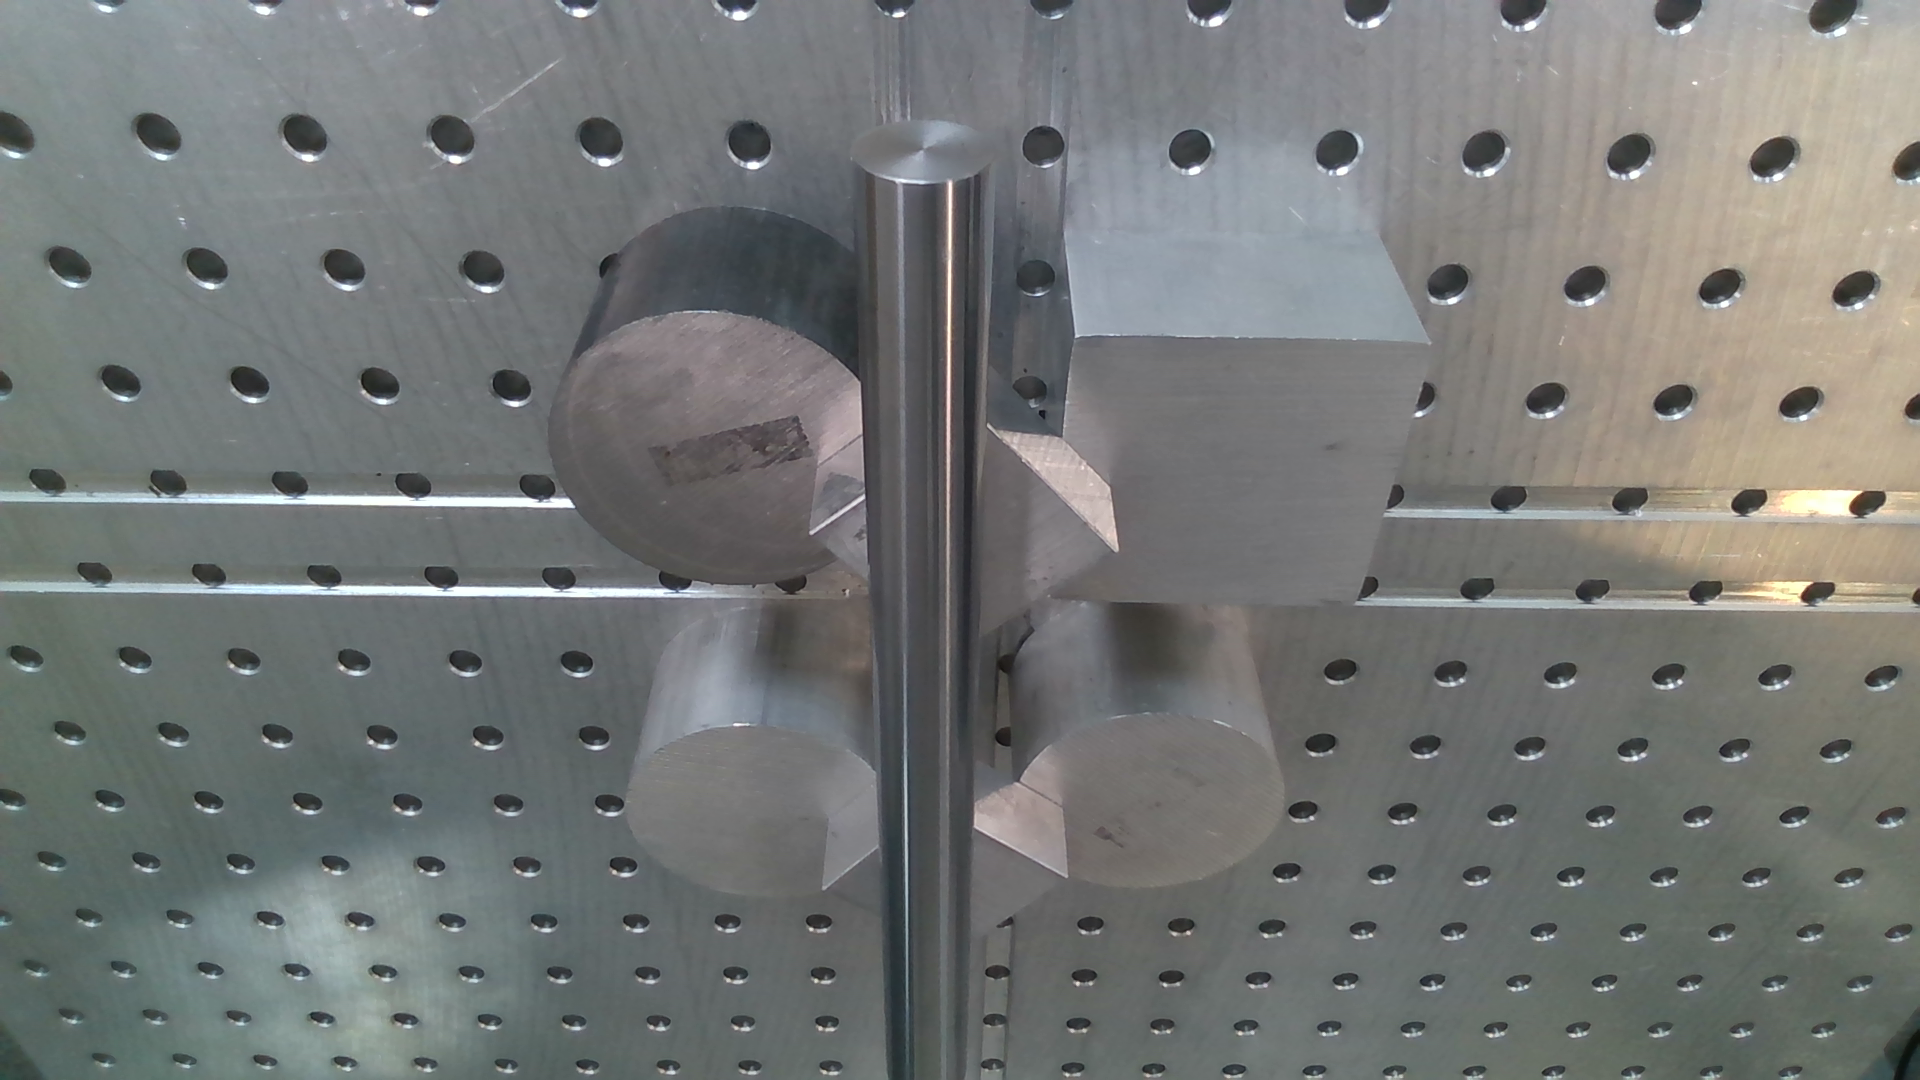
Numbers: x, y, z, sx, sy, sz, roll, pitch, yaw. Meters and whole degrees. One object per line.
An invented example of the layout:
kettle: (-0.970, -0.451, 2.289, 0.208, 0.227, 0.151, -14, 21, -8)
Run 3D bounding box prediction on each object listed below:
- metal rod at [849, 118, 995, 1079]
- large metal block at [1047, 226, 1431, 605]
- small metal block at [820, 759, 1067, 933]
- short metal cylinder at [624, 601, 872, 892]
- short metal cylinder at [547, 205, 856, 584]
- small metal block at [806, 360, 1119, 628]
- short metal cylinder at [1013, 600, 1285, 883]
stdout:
metal rod: (-0.008, 0.047, 0.334, 0.025, 0.025, 0.301, 1, 130, 0)
large metal block: (0.063, -0.031, 0.349, 0.080, 0.050, 0.080, 1, 130, -1)
small metal block: (-0.005, 0.089, 0.402, 0.050, 0.025, 0.050, 33, 123, -25)
short metal cylinder: (-0.060, 0.065, 0.431, 0.080, 0.050, 0.080, 0, 130, 0)
short metal cylinder: (-0.057, -0.036, 0.345, 0.080, 0.050, 0.080, 0, 130, 0)
small metal block: (0.001, -0.009, 0.320, 0.050, 0.025, 0.050, -33, 123, 24)
short metal cylinder: (0.056, 0.062, 0.428, 0.080, 0.050, 0.080, 0, 130, 0)
